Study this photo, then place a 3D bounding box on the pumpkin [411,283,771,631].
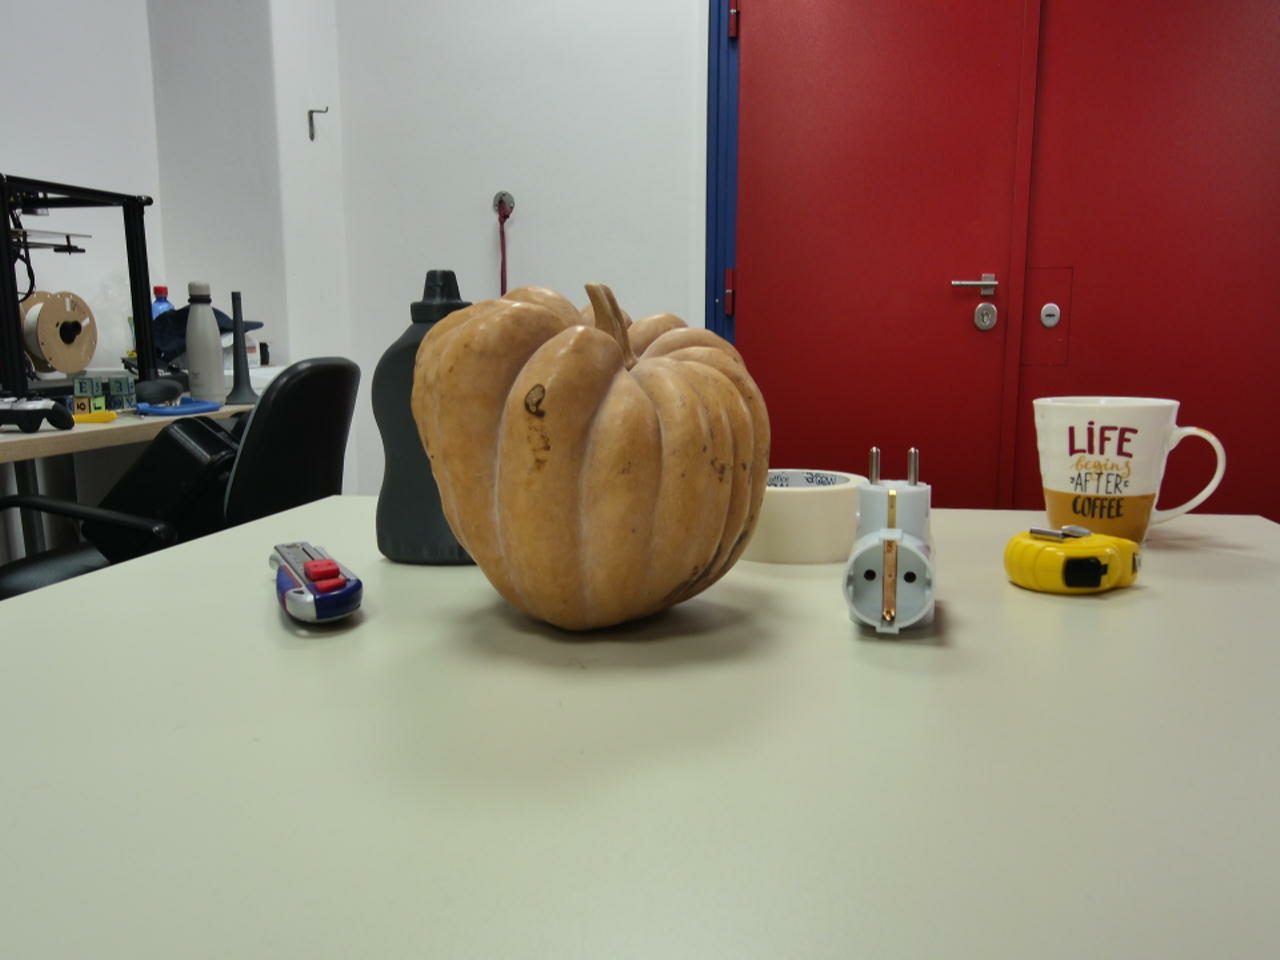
[{"bbox_3d":[-0.027,-0.015,0.531,0.199,0.177,0.198,0,6,0],"label":"pumpkin"}]
